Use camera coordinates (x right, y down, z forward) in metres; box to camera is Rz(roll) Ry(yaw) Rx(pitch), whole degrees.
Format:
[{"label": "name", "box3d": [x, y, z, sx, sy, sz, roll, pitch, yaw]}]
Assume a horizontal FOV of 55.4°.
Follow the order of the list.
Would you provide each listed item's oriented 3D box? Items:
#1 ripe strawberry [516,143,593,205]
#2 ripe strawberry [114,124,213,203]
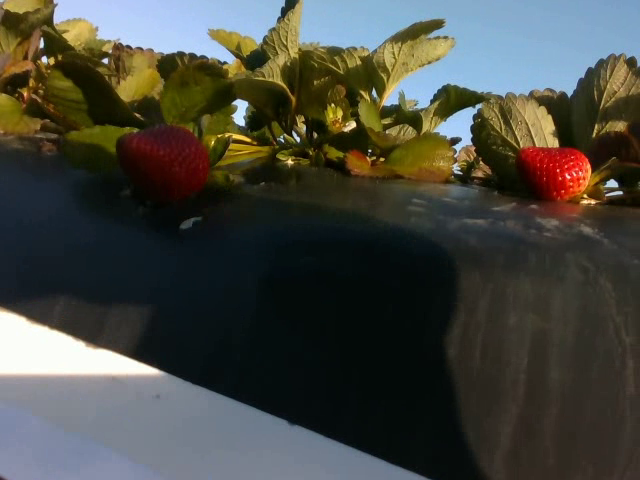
[{"label": "ripe strawberry", "box3d": [0.115, -0.035, 0.301, 0.046, 0.036, 0.034, 24, 31, 13]}, {"label": "ripe strawberry", "box3d": [-0.074, -0.039, 0.278, 0.045, 0.042, 0.055, 25, 1, 23]}]
